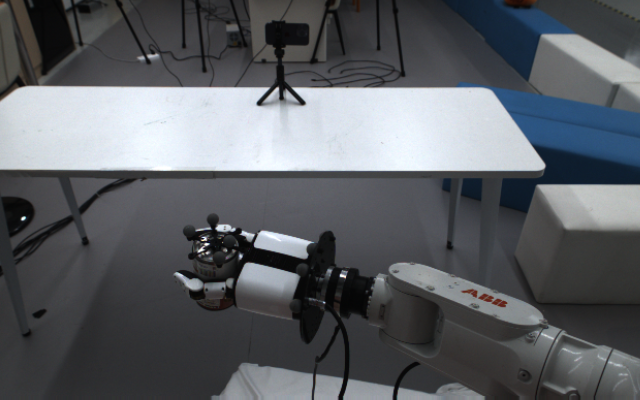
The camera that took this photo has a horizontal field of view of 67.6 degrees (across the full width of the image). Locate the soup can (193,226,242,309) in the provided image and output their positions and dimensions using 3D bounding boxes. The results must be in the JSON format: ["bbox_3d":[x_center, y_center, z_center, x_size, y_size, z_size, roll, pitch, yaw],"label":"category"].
[{"bbox_3d":[-0.151,0.106,0.711,0.067,0.101,0.067,5,37,-4],"label":"soup can"}]
